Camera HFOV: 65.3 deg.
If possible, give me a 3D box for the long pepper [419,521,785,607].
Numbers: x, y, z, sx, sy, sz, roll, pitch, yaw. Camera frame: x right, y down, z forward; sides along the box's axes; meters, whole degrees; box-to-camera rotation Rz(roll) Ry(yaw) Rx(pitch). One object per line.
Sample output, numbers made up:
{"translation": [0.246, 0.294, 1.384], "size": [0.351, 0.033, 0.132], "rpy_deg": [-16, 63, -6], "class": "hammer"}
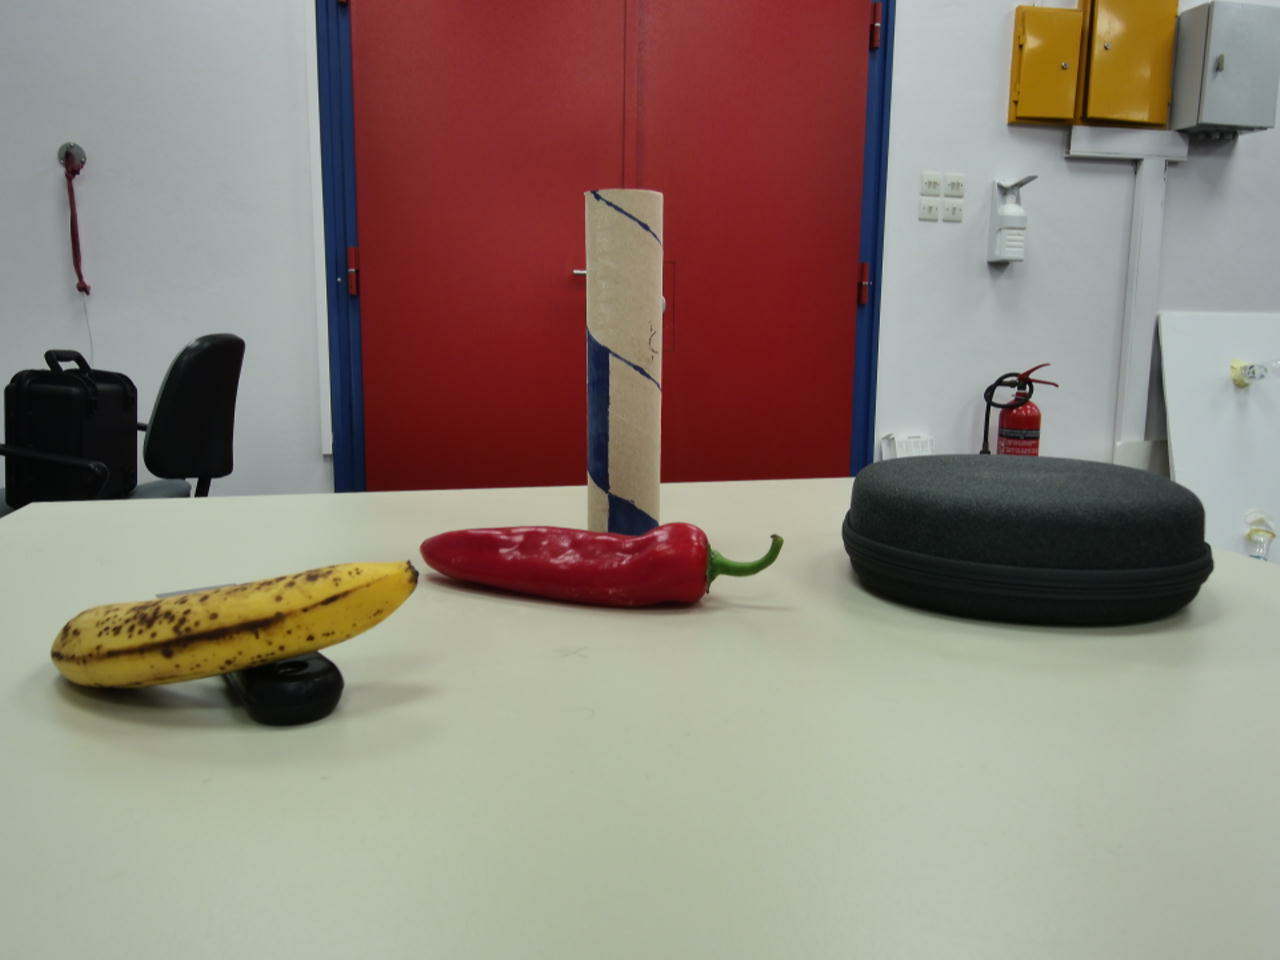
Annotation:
{"translation": [-0.029, 0.042, 0.537], "size": [0.211, 0.043, 0.050], "rpy_deg": [2, 7, 19], "class": "long pepper"}
